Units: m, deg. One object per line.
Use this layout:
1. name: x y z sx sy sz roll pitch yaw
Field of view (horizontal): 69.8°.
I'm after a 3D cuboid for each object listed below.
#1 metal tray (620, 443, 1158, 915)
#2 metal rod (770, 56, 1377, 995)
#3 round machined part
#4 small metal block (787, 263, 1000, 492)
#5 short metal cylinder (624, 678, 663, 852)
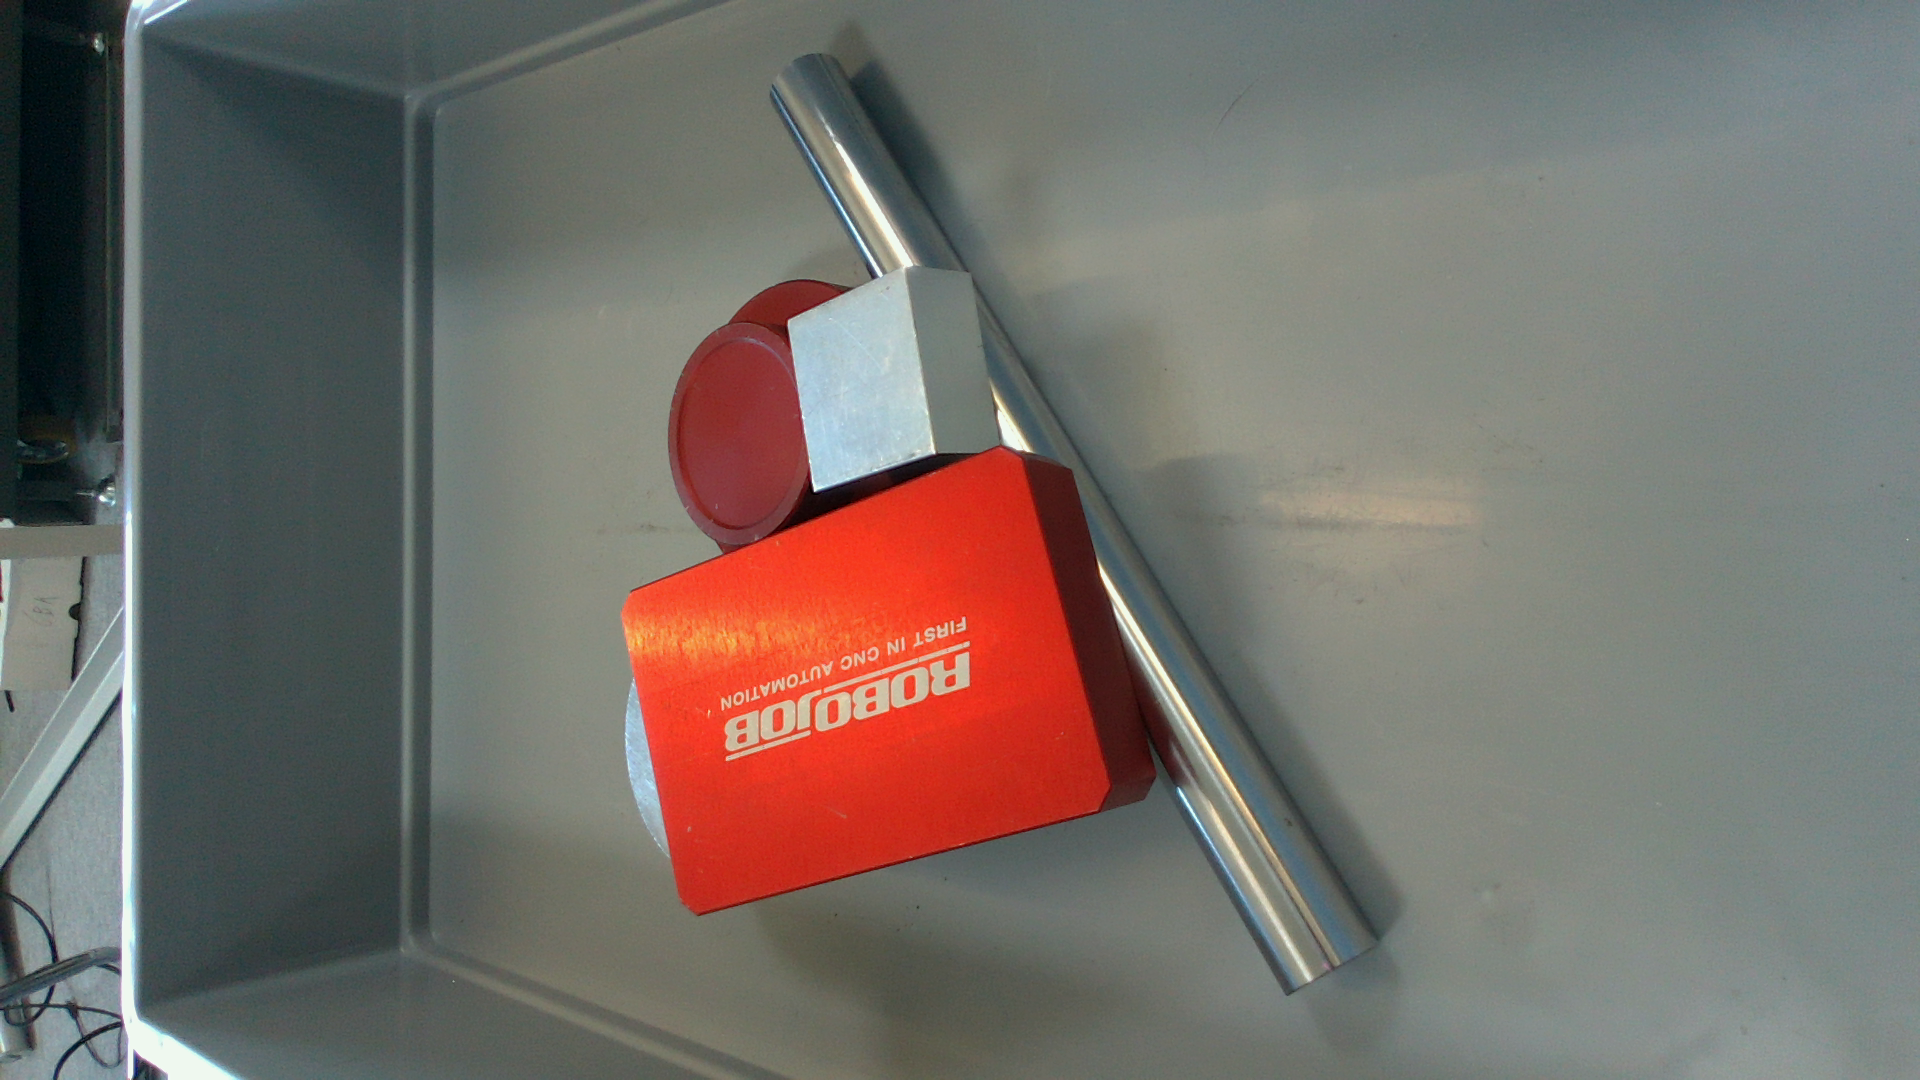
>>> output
1. metal tray: -0.023 0.039 0.359 0.130 0.030 0.090 -20 77 25
2. metal rod: 0.019 -0.021 0.377 0.025 0.025 0.300 -43 64 31
3. round machined part: -0.055 -0.032 0.427 0.098 0.042 0.098 0 90 41
4. small metal block: -0.019 -0.043 0.378 0.050 0.025 0.050 -14 84 44
5. short metal cylinder: -0.059 0.060 0.426 0.080 0.050 0.080 0 90 40
